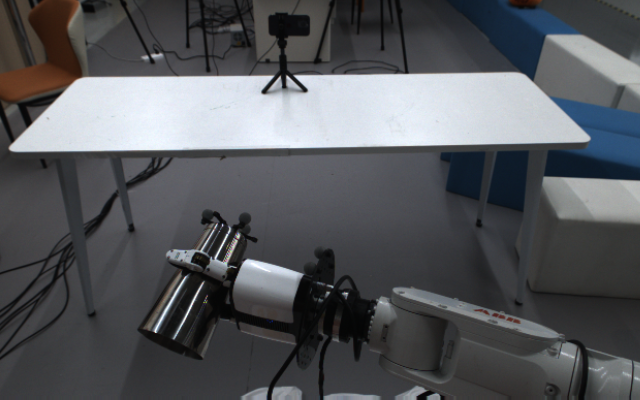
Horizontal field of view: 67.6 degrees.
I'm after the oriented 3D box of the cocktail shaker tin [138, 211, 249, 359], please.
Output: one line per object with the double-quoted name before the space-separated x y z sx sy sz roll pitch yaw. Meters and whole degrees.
"cocktail shaker tin" -0.164 0.120 0.663 0.093 0.093 0.170 13 58 15
